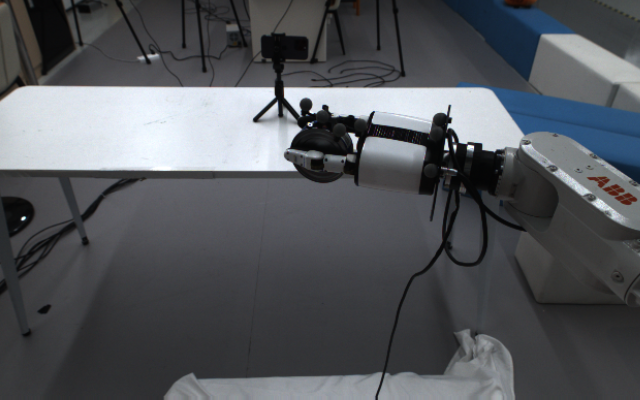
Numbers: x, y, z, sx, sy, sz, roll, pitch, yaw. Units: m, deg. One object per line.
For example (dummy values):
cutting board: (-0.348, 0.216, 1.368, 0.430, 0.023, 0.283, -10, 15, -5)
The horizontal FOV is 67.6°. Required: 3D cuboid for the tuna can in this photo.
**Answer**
tuna can: (0.004, -0.069, 0.686, 0.085, 0.085, 0.034, 12, 33, 14)
